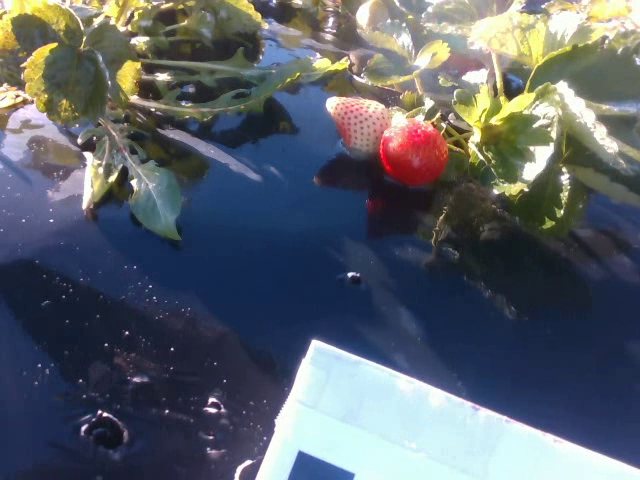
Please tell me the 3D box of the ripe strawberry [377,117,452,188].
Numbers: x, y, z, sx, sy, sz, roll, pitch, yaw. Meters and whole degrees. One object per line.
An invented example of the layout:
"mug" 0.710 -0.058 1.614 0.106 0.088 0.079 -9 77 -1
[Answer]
"ripe strawberry" 0.046 -0.048 0.308 0.040 0.038 0.055 -4 -14 26
